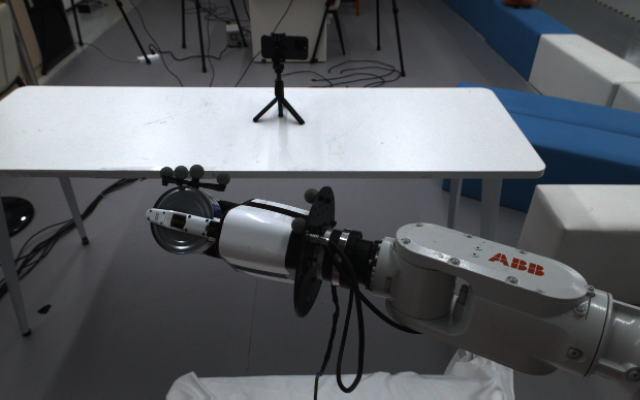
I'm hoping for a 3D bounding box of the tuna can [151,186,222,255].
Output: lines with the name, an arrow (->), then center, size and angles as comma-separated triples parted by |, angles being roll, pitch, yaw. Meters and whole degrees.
tuna can -> -0.167, 0.027, 0.615 | 0.085, 0.085, 0.034 | 12, -6, 13
